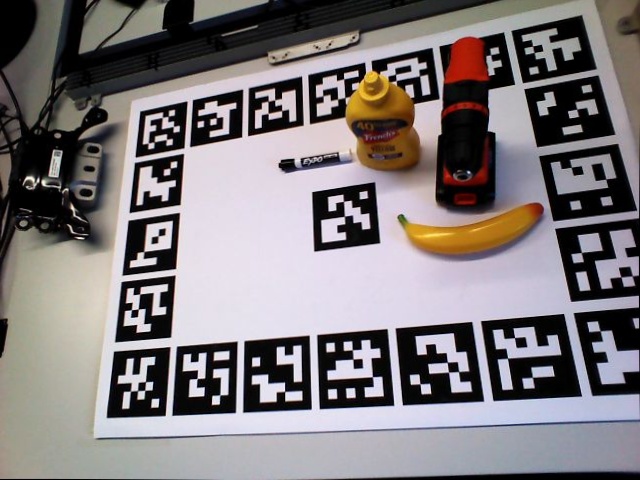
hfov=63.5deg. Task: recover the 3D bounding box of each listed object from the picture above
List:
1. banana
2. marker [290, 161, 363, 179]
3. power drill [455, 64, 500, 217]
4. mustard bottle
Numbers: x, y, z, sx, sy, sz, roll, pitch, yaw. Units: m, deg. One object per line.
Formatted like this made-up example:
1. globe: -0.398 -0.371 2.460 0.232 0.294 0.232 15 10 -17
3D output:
1. banana: 0.224 0.013 0.734 0.198 0.039 0.074 1 74 19
2. marker: 0.010 -0.115 0.851 0.122 0.019 0.019 -4 71 16
3. power drill: 0.207 -0.102 0.673 0.057 0.187 0.183 8 71 17
4. mustard bottle: 0.109 -0.146 0.737 0.097 0.191 0.058 5 73 17
